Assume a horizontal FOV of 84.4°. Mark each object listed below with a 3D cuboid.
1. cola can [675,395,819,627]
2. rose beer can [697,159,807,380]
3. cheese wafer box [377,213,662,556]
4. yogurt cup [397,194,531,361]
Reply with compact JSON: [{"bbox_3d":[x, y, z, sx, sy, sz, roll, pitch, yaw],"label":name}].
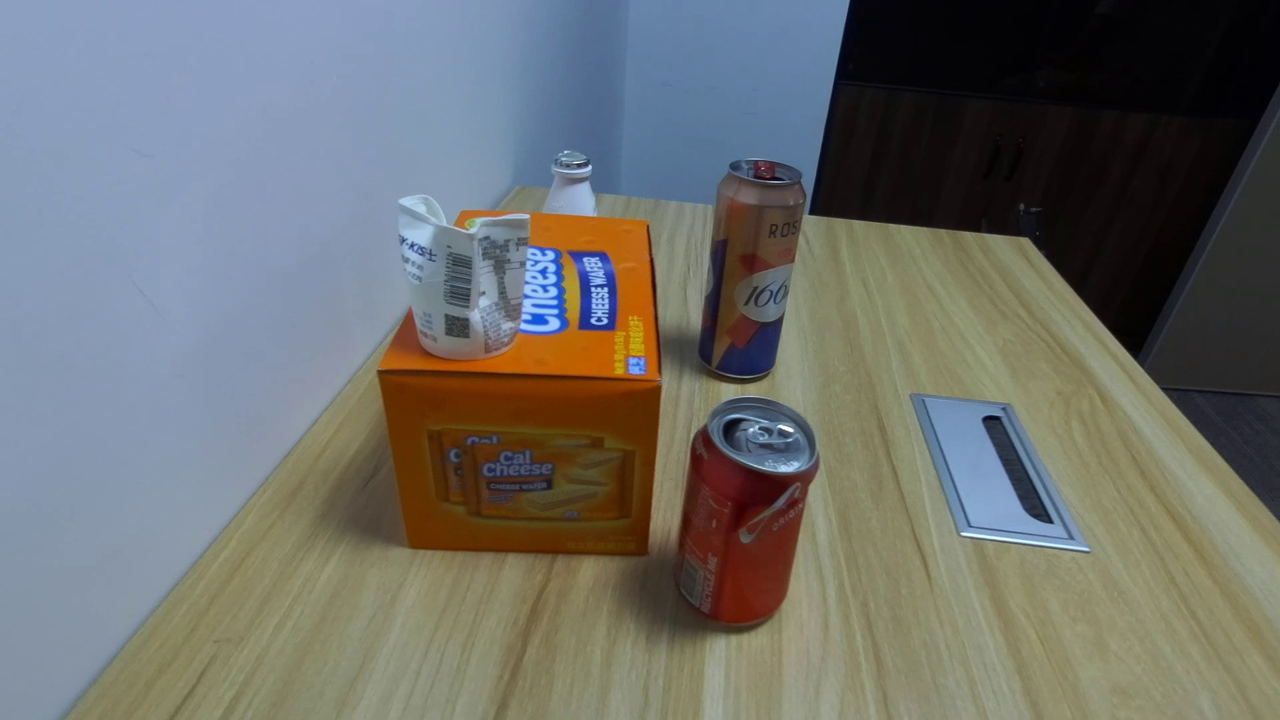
[{"bbox_3d":[0.056,0.080,0.377,0.072,0.117,0.065,-21,39,-34],"label":"cola can"},{"bbox_3d":[0.088,-0.067,0.564,0.069,0.169,0.068,4,31,-2],"label":"rose beer can"},{"bbox_3d":[-0.064,0.003,0.477,0.148,0.129,0.221,3,33,-3],"label":"cheese wafer box"},{"bbox_3d":[-0.090,-0.043,0.361,0.055,0.072,0.054,-25,42,-38],"label":"yogurt cup"}]
